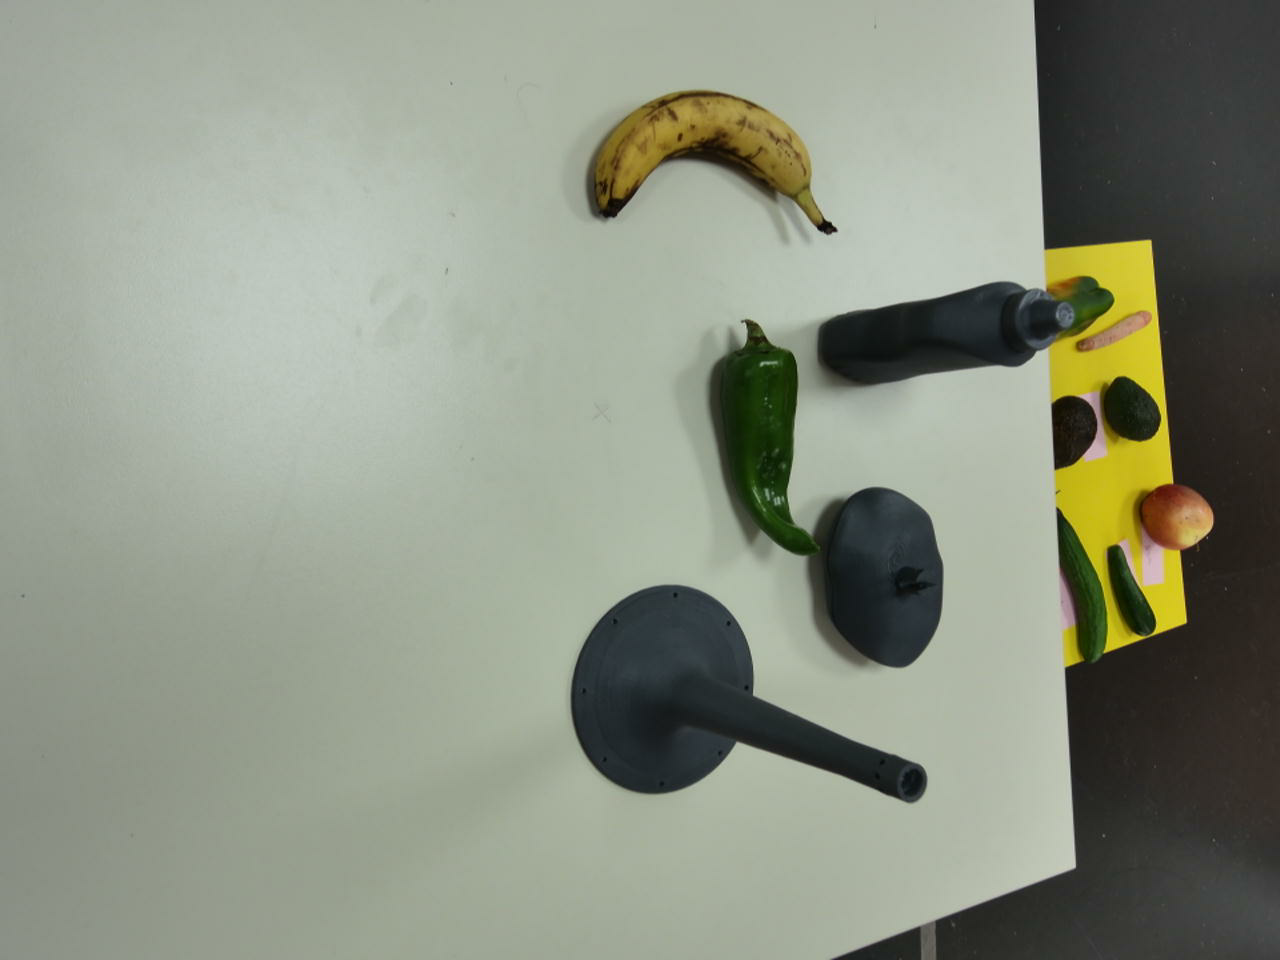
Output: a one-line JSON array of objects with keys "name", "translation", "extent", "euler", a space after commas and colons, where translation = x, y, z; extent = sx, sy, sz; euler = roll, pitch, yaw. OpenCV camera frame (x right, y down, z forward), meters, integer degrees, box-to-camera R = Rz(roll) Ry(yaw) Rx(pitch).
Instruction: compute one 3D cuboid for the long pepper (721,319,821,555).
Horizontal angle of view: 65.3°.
[{"name": "long pepper", "translation": [0.093, -0.031, 0.725], "extent": [0.058, 0.065, 0.175], "euler": [-7, 94, -28]}]
